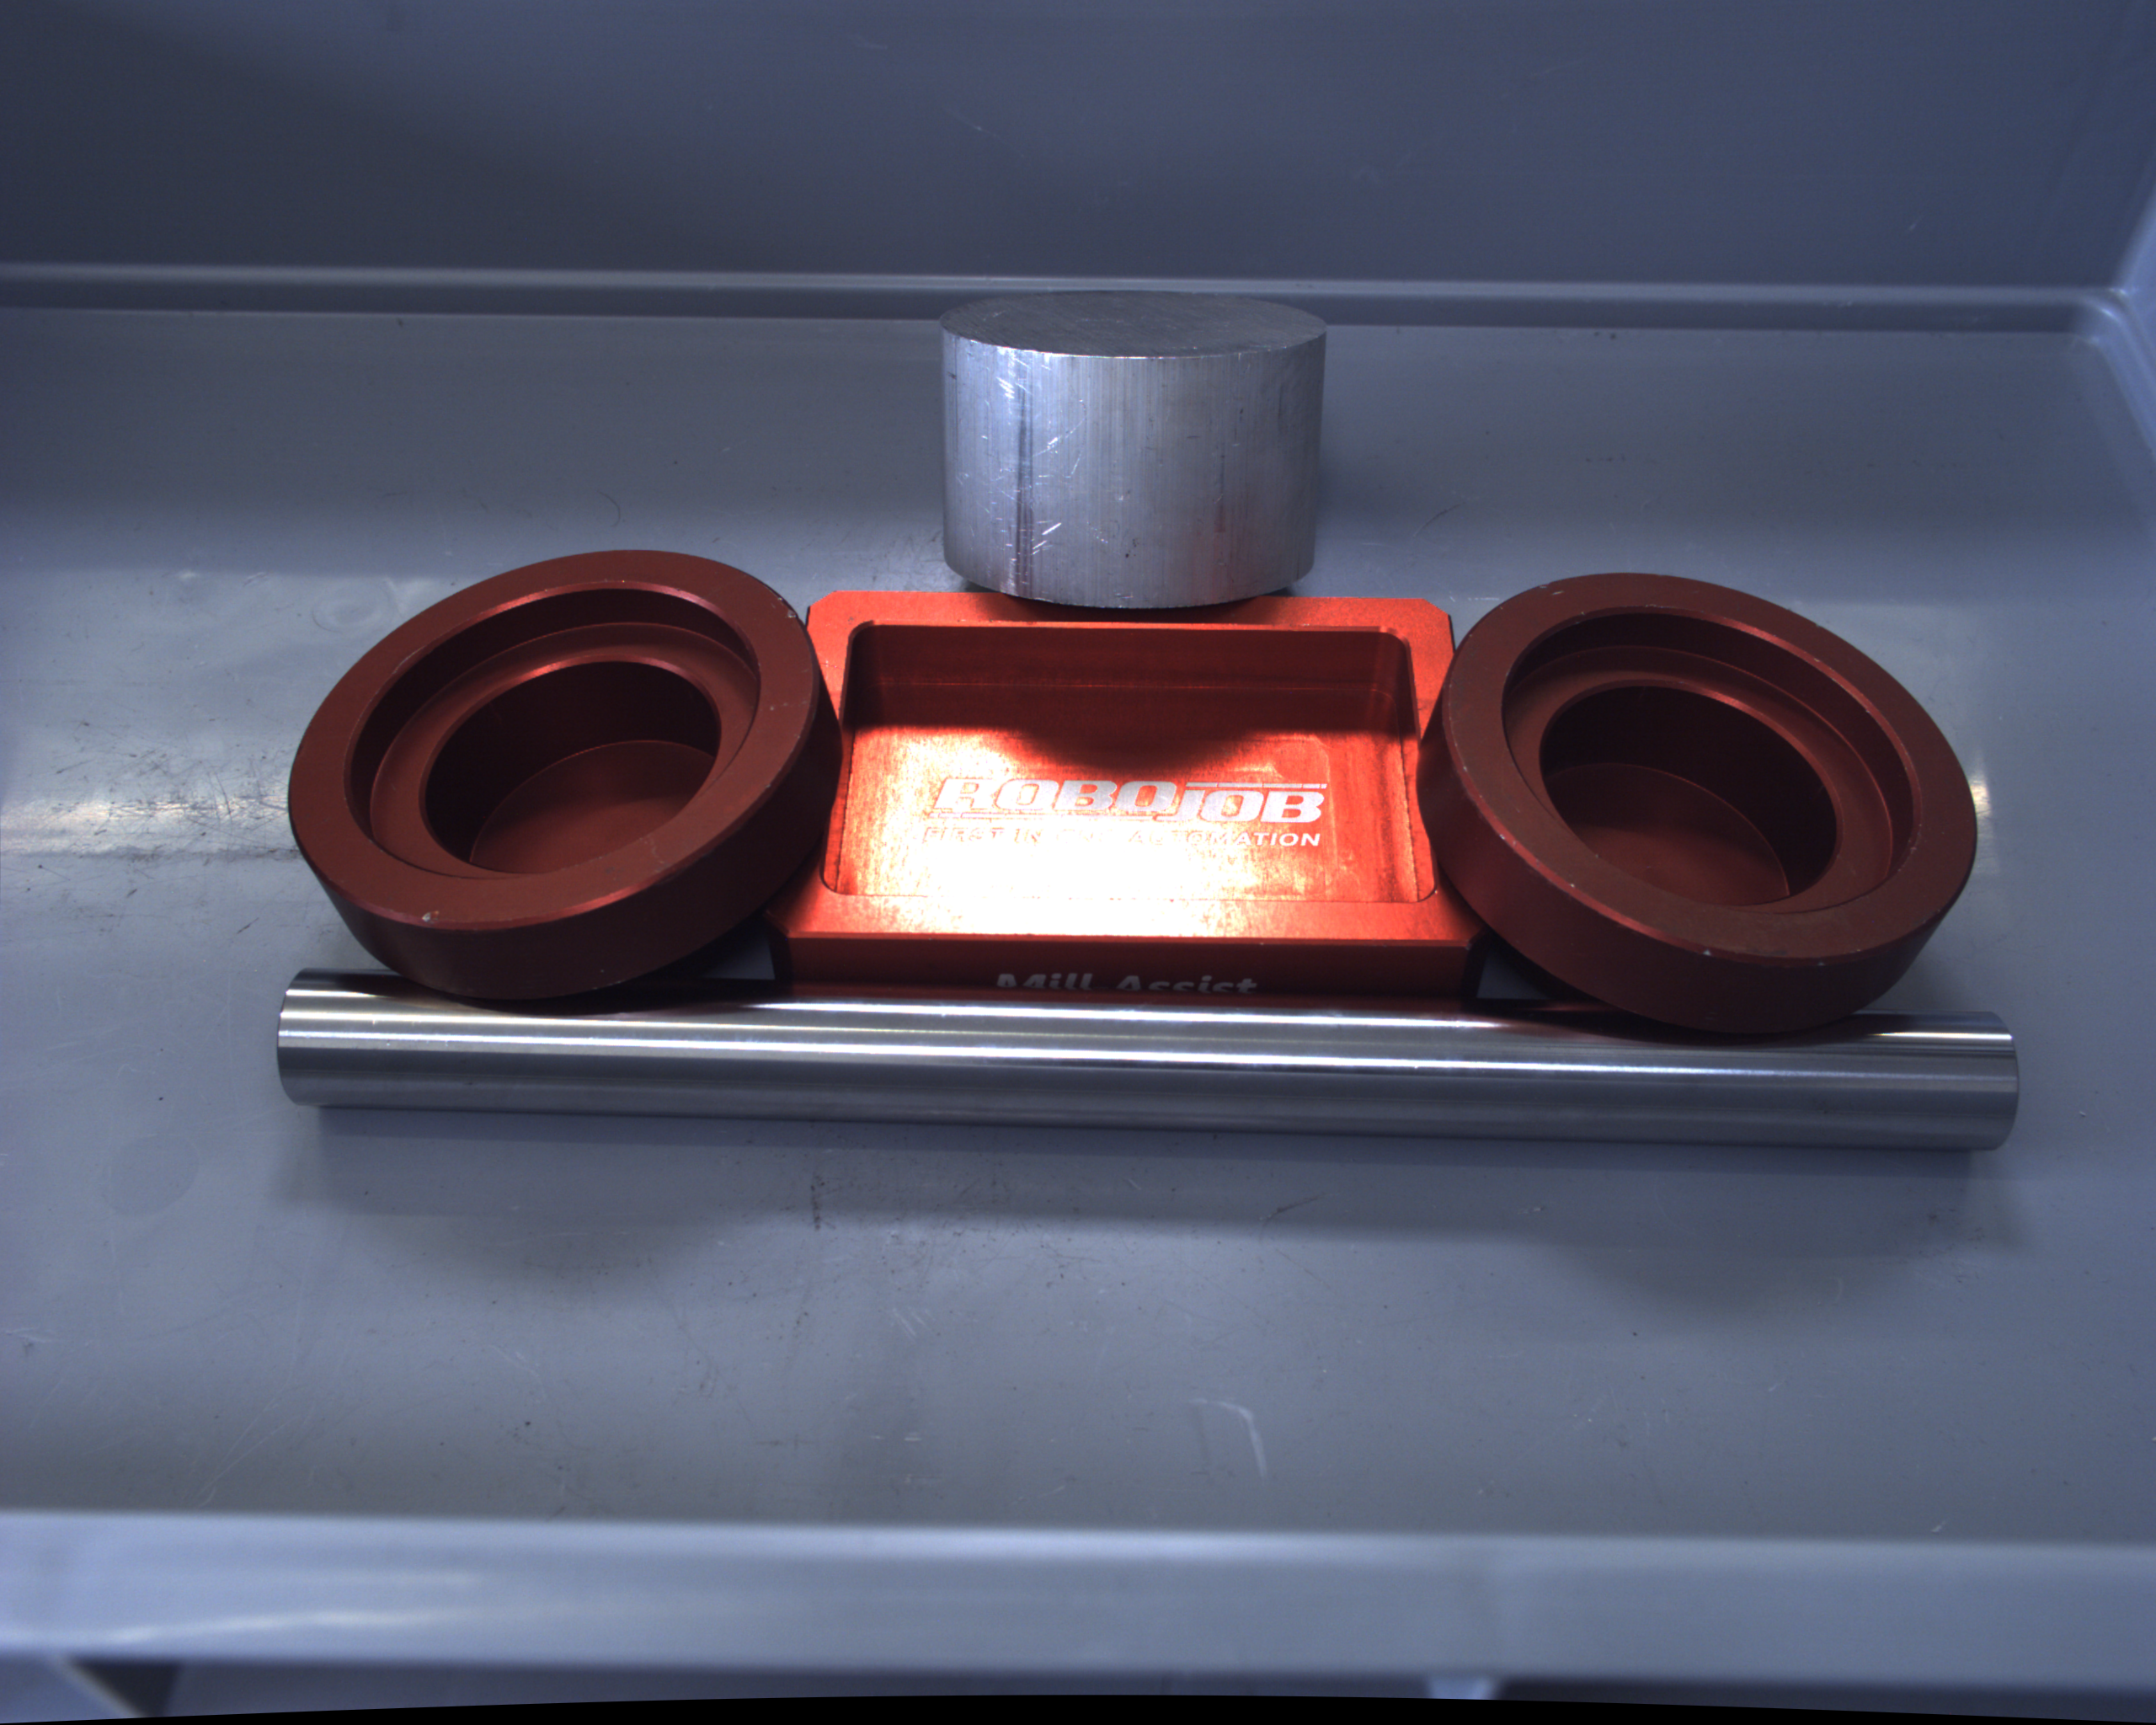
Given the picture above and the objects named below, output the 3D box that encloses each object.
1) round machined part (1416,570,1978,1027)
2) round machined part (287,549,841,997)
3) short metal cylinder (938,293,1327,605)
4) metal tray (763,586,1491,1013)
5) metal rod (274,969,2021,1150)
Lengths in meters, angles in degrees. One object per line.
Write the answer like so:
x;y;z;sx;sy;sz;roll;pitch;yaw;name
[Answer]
0.112;-0.008;0.392;0.099;0.042;0.098;5;48;-6;round machined part
-0.093;-0.012;0.395;0.099;0.042;0.098;-5;47;6;round machined part
0.011;-0.090;0.443;0.081;0.050;0.080;0;24;0;short metal cylinder
0.010;-0.012;0.409;0.131;0.030;0.090;1;51;0;metal tray
0.011;0.035;0.373;0.302;0.025;0.025;1;50;1;metal rod
